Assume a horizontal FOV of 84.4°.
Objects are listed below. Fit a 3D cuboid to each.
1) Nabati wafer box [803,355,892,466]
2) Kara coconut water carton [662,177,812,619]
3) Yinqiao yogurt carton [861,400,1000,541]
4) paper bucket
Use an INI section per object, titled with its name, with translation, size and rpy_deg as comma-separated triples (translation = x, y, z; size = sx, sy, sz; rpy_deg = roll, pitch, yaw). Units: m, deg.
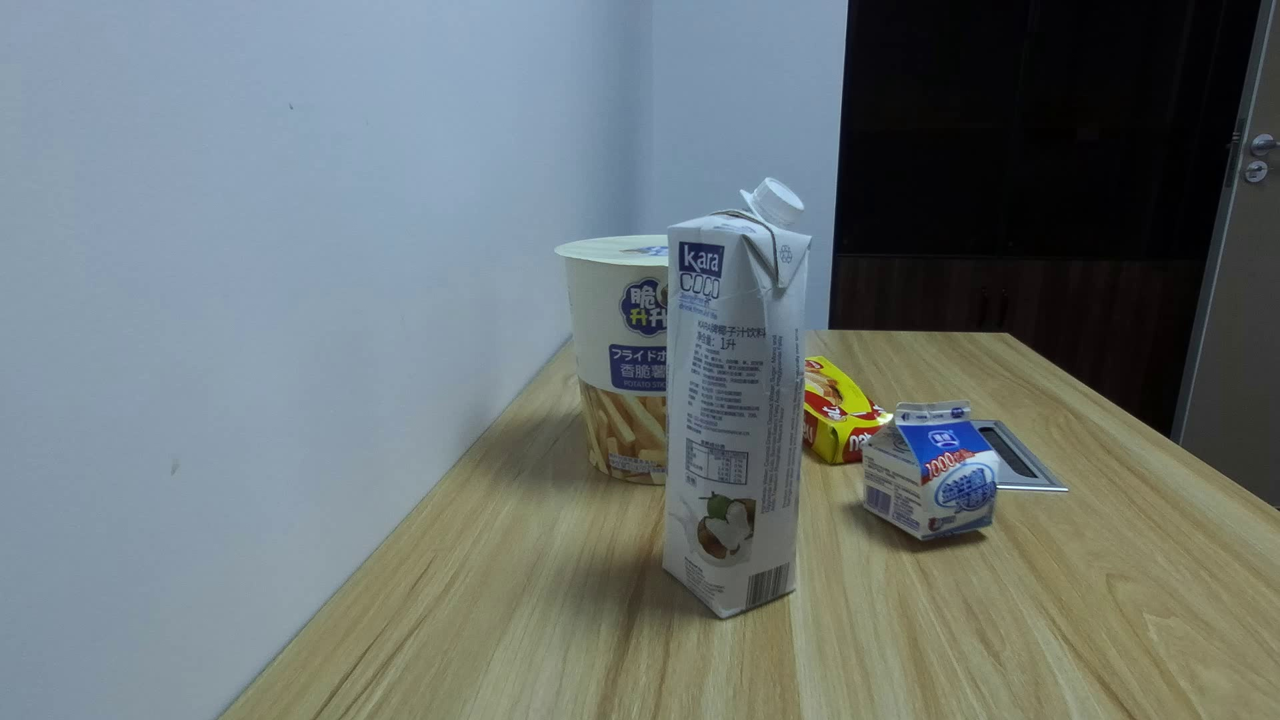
[Nabati wafer box]
translation = 0.198, 0.047, 0.733
size = 0.107, 0.042, 0.203
rpy_deg = -4, 17, -11
[Kara coconut water carton]
translation = 0.061, 0.022, 0.428
size = 0.078, 0.255, 0.083
rpy_deg = -4, 17, -18
[Yinqiao yogurt carton]
translation = 0.219, 0.076, 0.525
size = 0.075, 0.097, 0.080
rpy_deg = -5, 10, -18
[paper bucket]
translation = 0.020, -0.007, 0.652
size = 0.198, 0.194, 0.198
rpy_deg = -1, 16, 1
